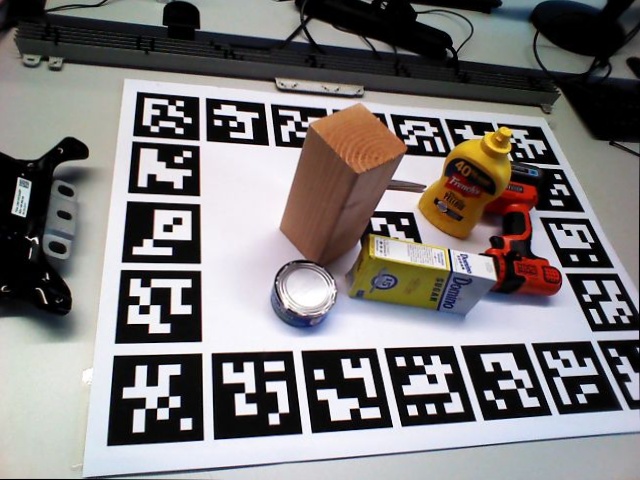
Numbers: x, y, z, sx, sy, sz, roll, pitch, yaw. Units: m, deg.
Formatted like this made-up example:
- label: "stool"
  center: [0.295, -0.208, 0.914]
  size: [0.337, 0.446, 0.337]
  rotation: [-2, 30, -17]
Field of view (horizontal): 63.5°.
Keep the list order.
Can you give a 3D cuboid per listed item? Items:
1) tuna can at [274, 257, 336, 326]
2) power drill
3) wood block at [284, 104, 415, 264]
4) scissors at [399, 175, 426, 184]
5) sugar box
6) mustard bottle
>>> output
- label: "tuna can"
  center: [-0.015, 0.067, 0.669]
  size: [0.086, 0.034, 0.085]
  rotation: [7, 56, -11]
- label: "power drill"
  center: [0.273, -0.011, 0.788]
  size: [0.185, 0.058, 0.186]
  rotation: [12, 62, -7]
- label: "wood block"
  center: [0.028, -0.063, 0.677]
  size: [0.090, 0.207, 0.090]
  rotation: [-26, 68, -28]
- label: "scissors"
  center: [0.075, -0.098, 0.818]
  size: [0.202, 0.016, 0.087]
  rotation: [3, 53, -13]
- label: "sugar box"
  center: [0.149, 0.050, 0.694]
  size: [0.176, 0.093, 0.045]
  rotation: [12, 52, -9]
- label: "mustard bottle"
  center: [0.234, -0.086, 0.756]
  size: [0.096, 0.192, 0.058]
  rotation: [43, 58, 13]
